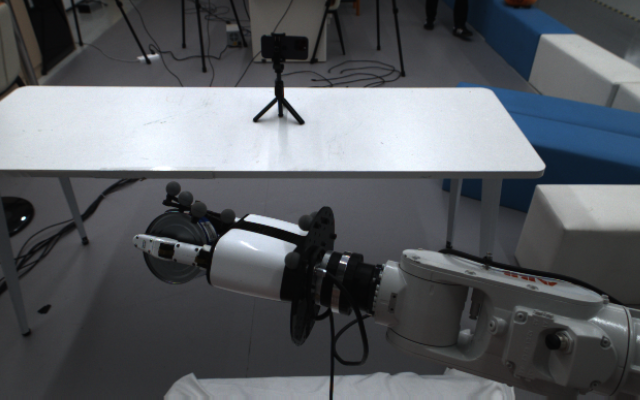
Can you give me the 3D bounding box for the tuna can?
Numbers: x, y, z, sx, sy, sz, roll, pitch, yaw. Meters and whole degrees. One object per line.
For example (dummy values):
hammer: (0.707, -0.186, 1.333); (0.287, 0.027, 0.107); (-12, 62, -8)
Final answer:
tuna can: (-0.162, 0.056, 0.579); (0.085, 0.085, 0.034); (13, 3, 16)
